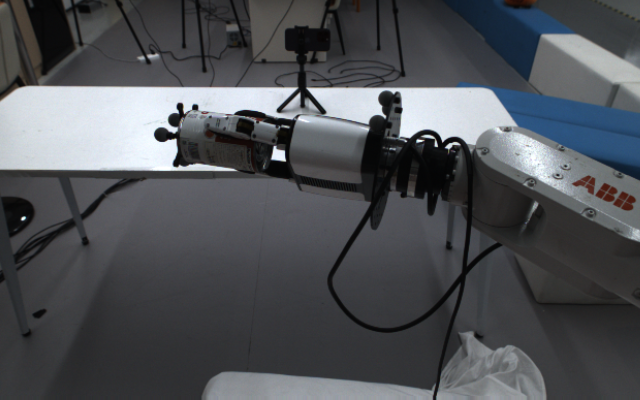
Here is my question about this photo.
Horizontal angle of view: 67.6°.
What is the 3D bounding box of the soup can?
[{"bbox_3d":[-0.114,-0.073,0.601,0.101,0.067,0.067,8,35,11],"label":"soup can"}]
